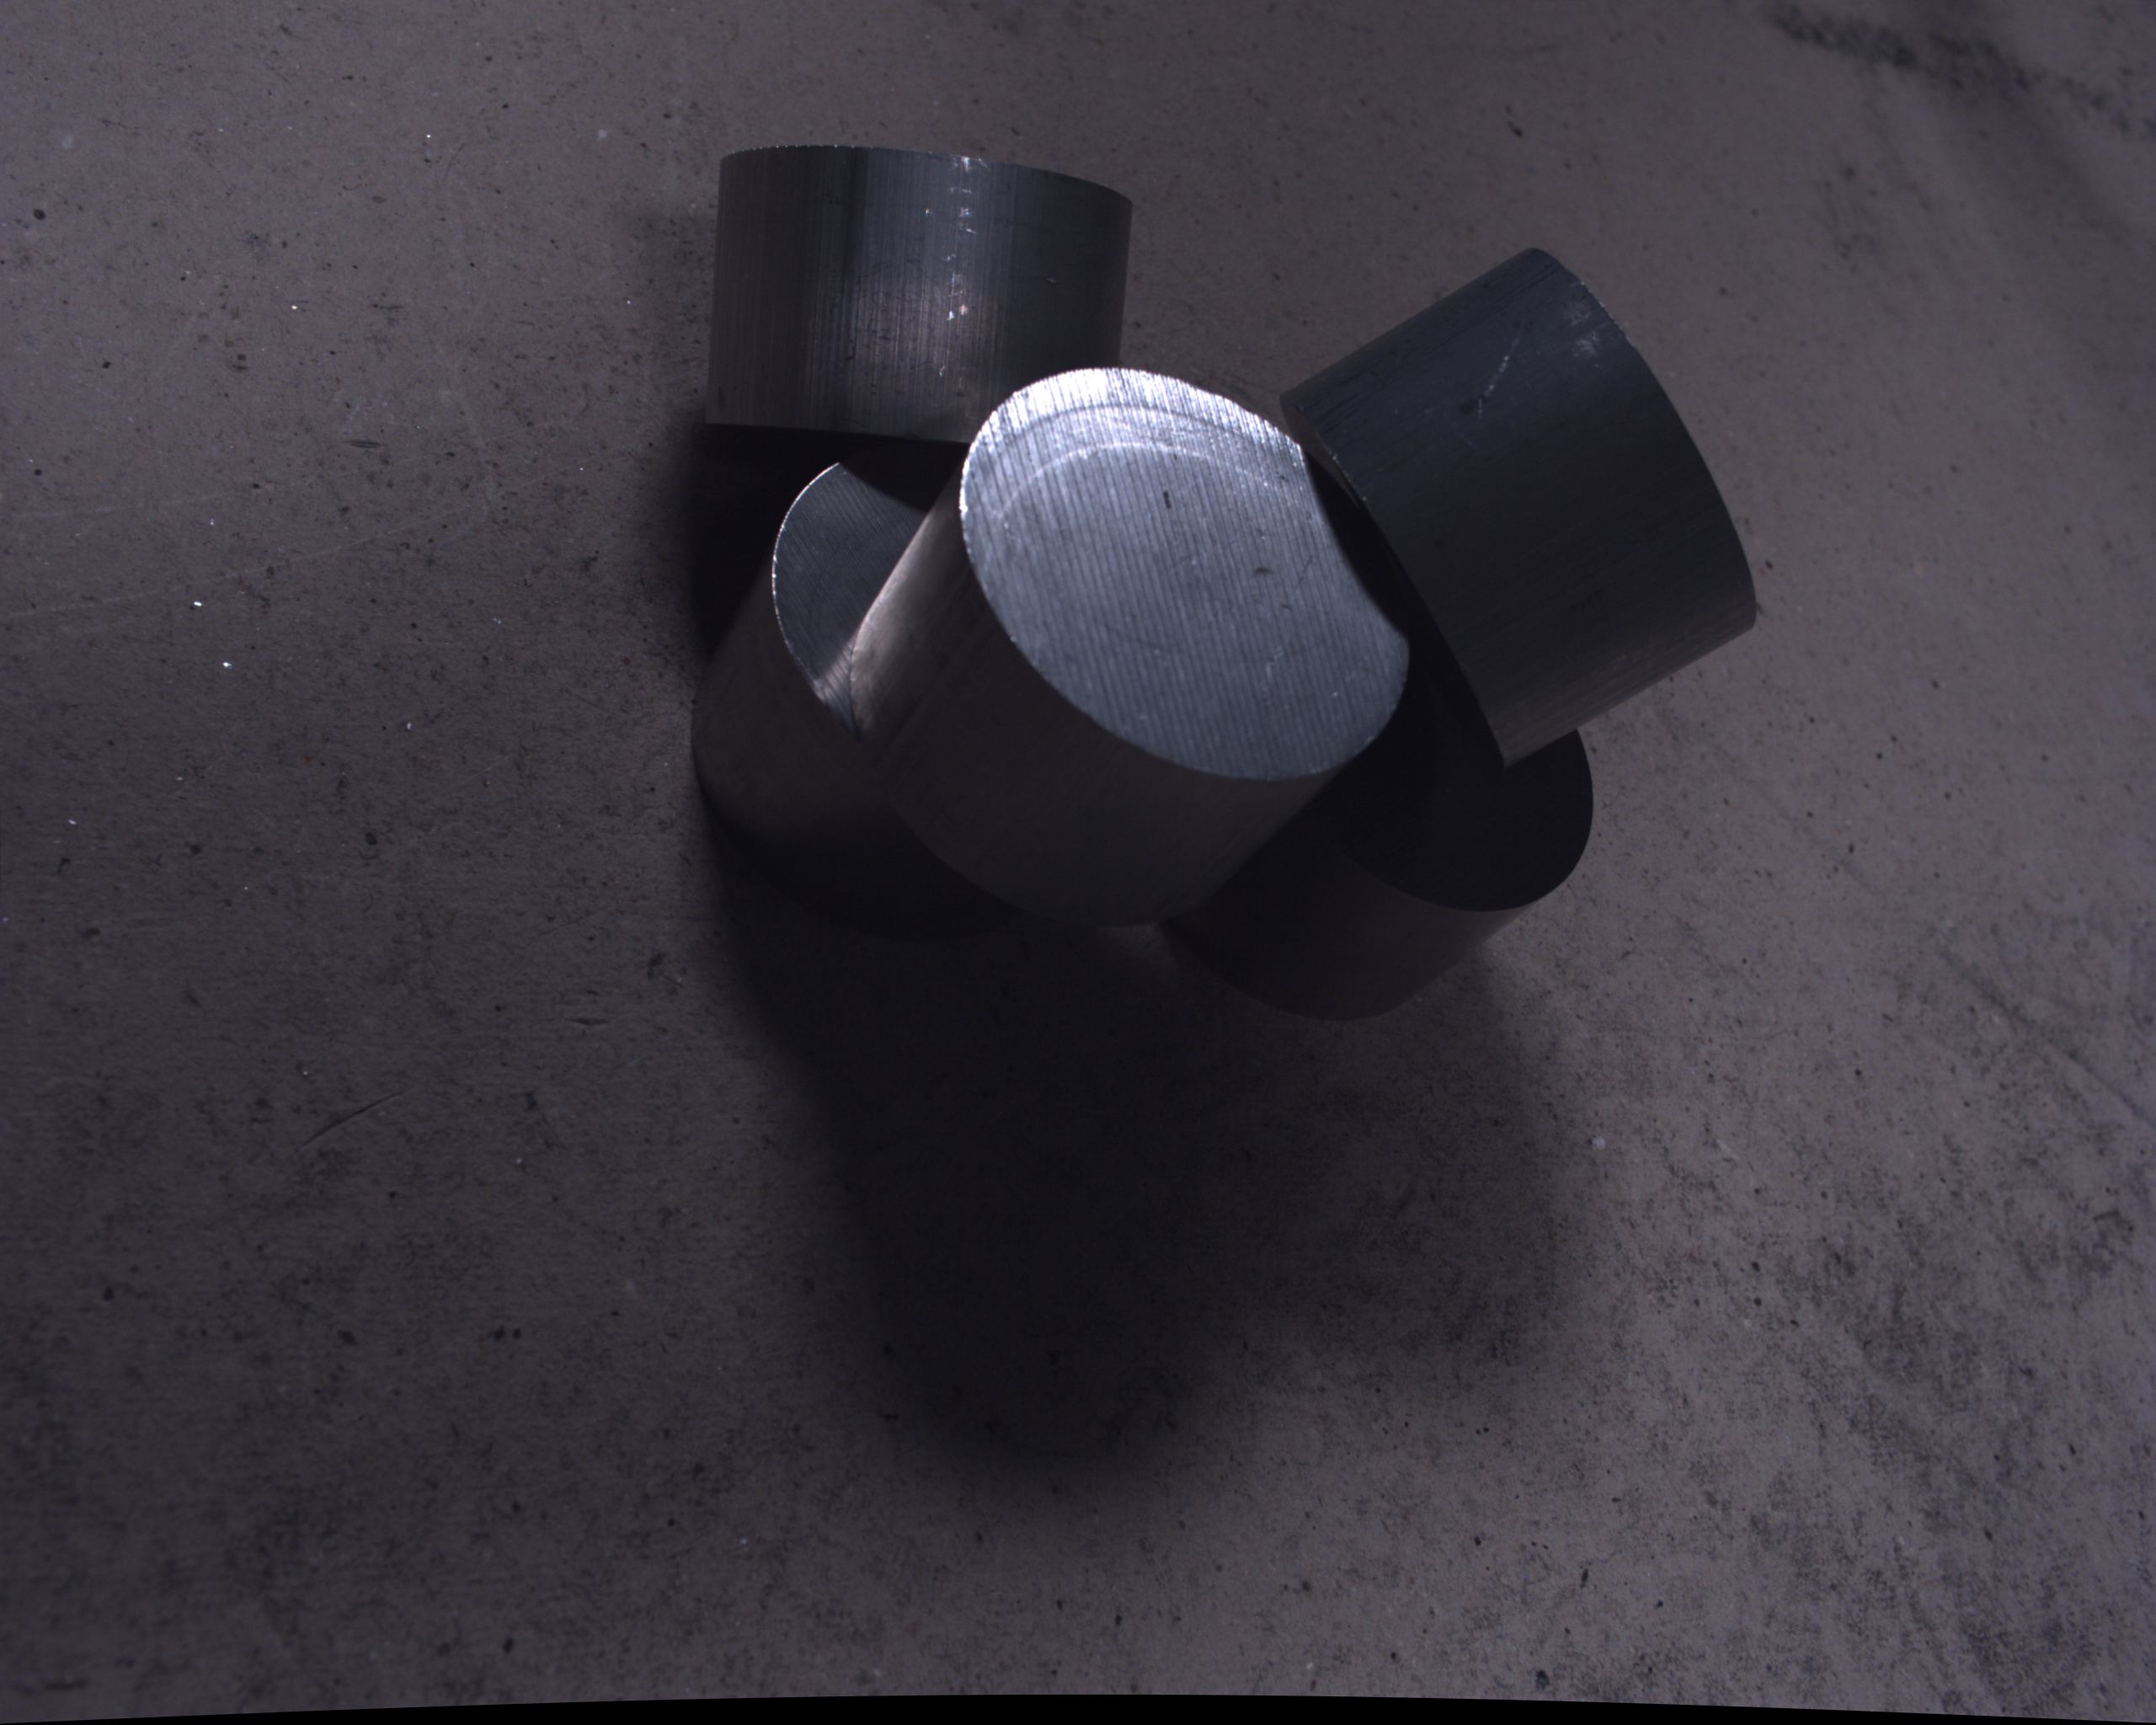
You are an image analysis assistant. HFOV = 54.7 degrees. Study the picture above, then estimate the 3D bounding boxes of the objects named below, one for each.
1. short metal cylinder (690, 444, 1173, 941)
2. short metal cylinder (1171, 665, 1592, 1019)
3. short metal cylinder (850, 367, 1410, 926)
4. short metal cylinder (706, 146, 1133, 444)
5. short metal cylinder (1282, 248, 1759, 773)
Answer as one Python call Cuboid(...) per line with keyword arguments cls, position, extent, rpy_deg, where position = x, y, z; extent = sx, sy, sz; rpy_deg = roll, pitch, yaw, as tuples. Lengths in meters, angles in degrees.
Cuboid(cls="short metal cylinder", position=(-0.027, -0.032, 0.395), extent=(0.081, 0.050, 0.080), rpy_deg=(14, 56, -21))
Cuboid(cls="short metal cylinder", position=(0.057, -0.014, 0.430), extent=(0.081, 0.050, 0.080), rpy_deg=(14, 56, -21))
Cuboid(cls="short metal cylinder", position=(0.008, -0.036, 0.352), extent=(0.081, 0.050, 0.080), rpy_deg=(14, 56, -21))
Cuboid(cls="short metal cylinder", position=(-0.032, -0.108, 0.412), extent=(0.081, 0.080, 0.050), rpy_deg=(0, 101, -29))
Cuboid(cls="short metal cylinder", position=(0.079, -0.063, 0.380), extent=(0.050, 0.080, 0.080), rpy_deg=(-31, 75, 6))
